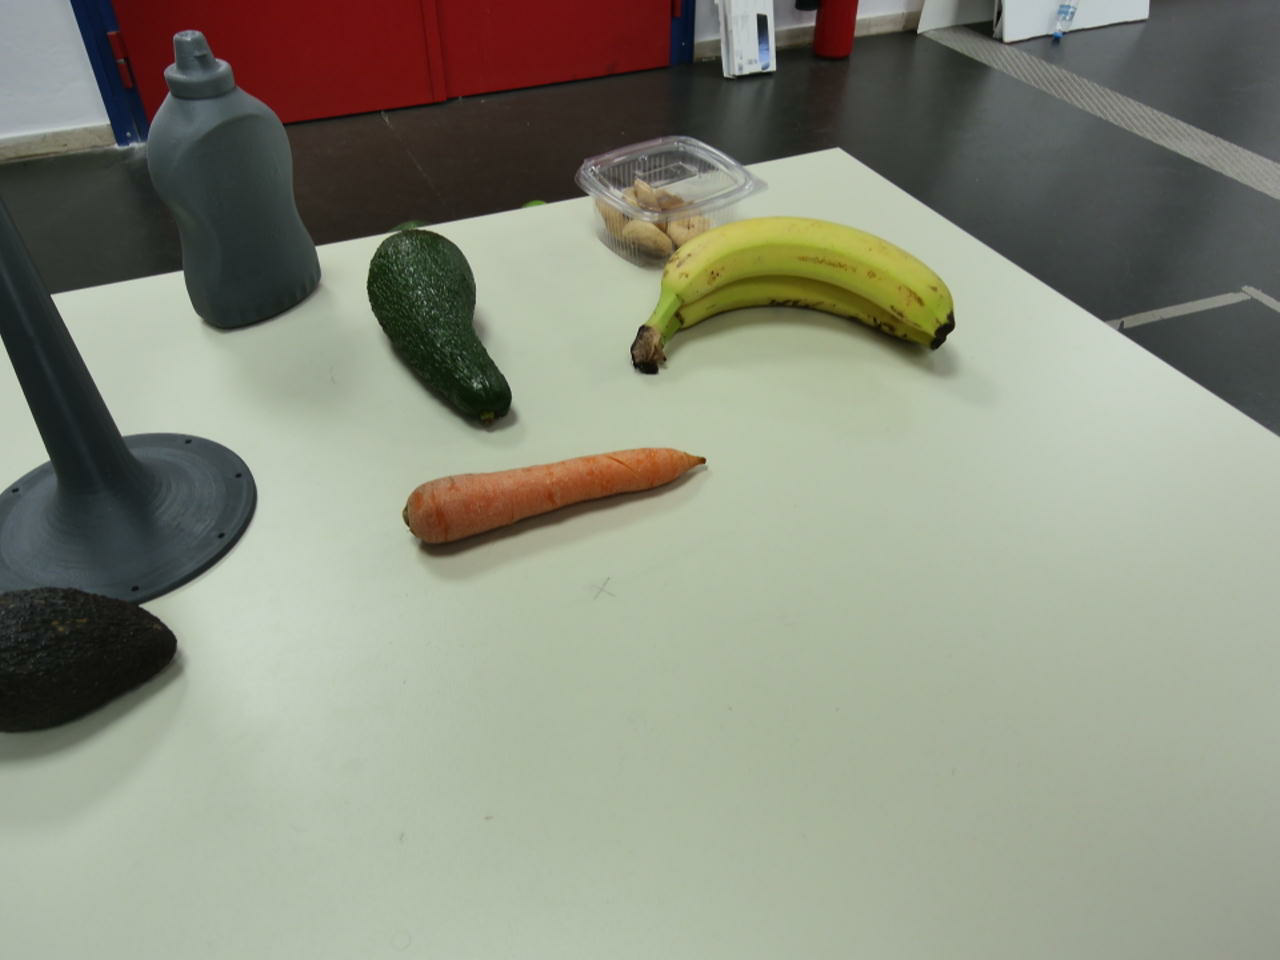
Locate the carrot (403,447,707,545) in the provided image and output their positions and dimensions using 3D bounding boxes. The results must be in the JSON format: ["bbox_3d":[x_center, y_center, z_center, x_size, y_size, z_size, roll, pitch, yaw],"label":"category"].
[{"bbox_3d":[-0.048,0.000,0.613,0.196,0.041,0.039,-15,42,-19],"label":"carrot"}]
